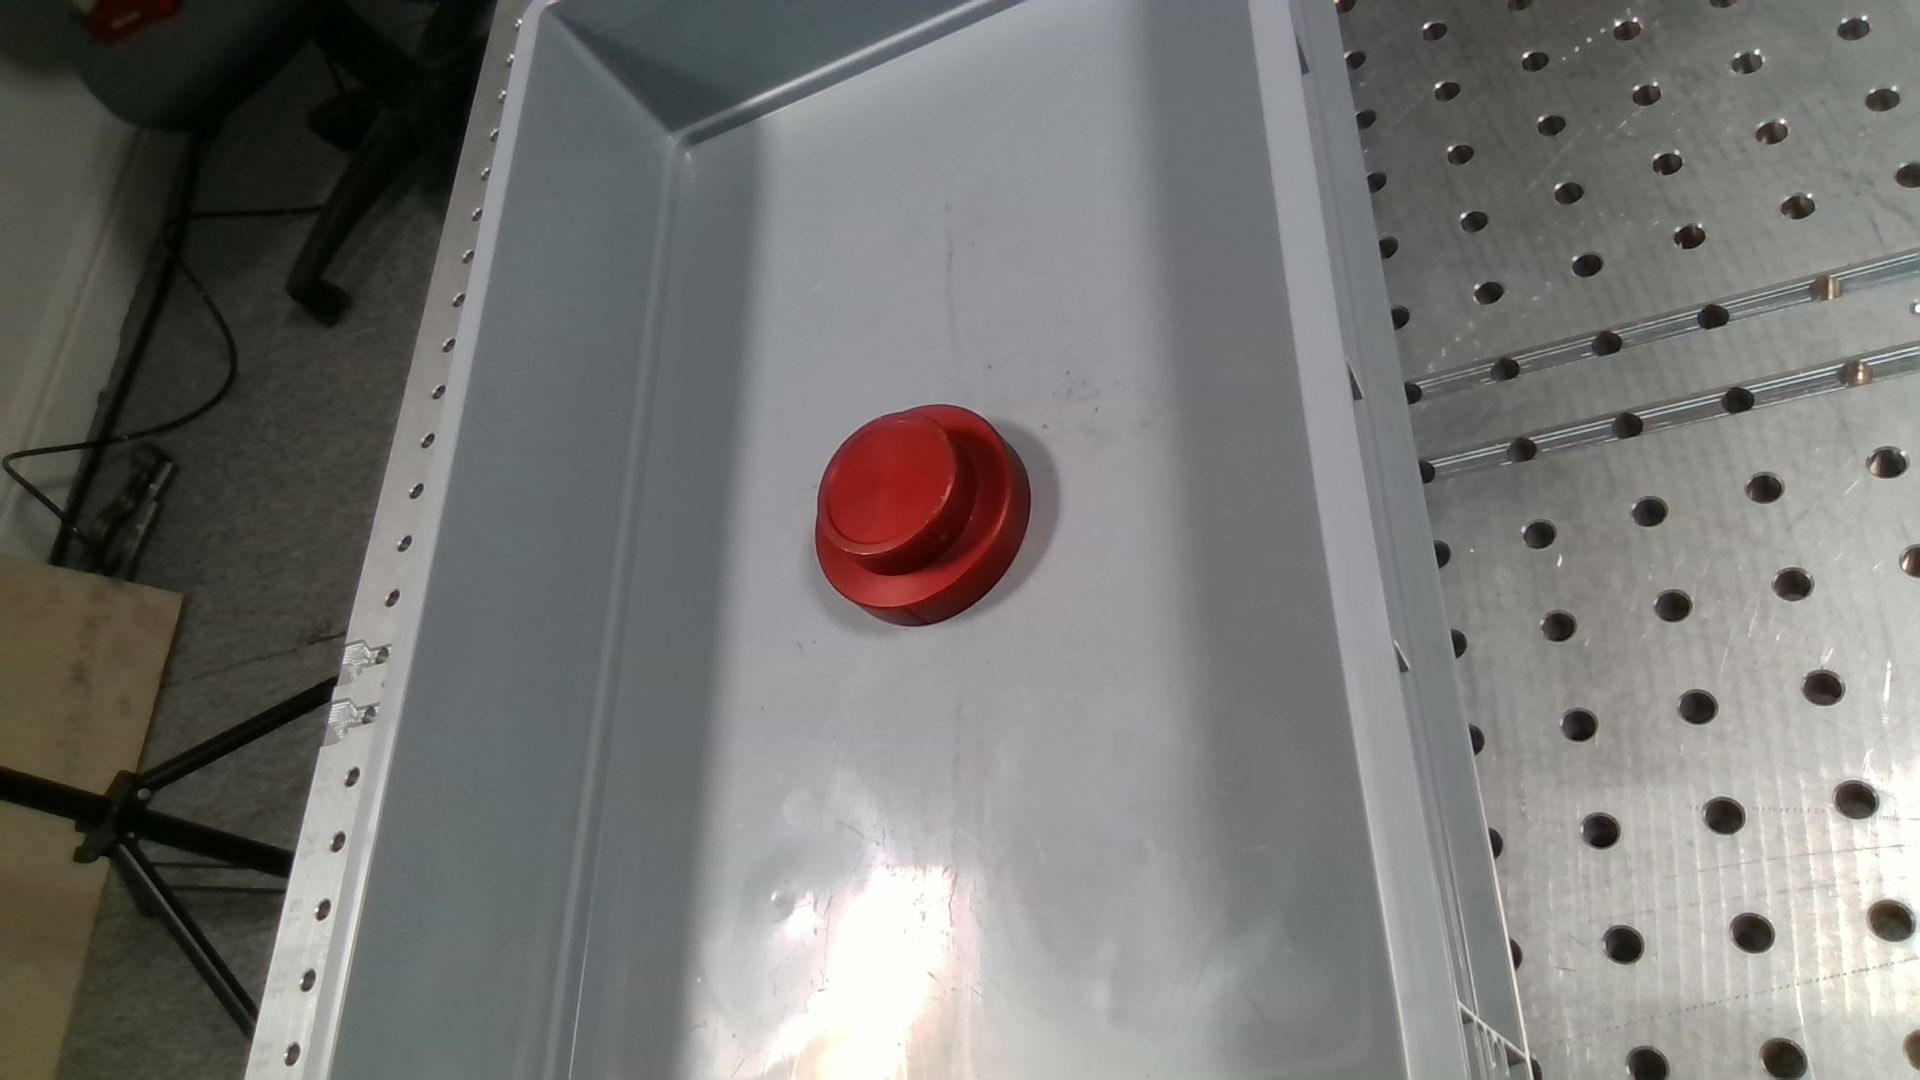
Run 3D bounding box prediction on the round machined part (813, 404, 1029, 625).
[{"bbox_3d":[-0.023,-0.016,0.593,0.098,0.042,0.098,-14,59,25],"label":"round machined part"}]
